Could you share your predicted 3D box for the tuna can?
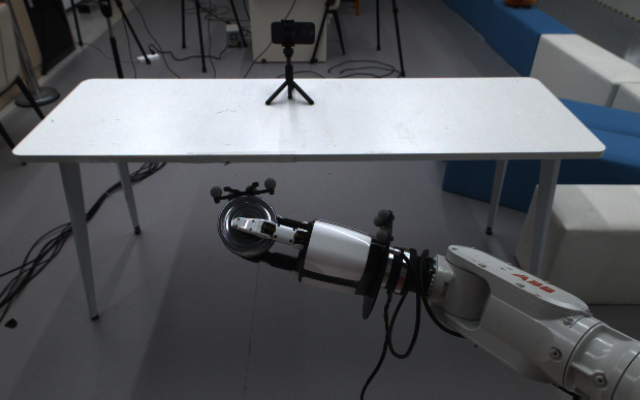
[{"bbox_3d":[-0.099,0.043,0.691,0.085,0.034,0.085,0,72,-1],"label":"tuna can"}]
